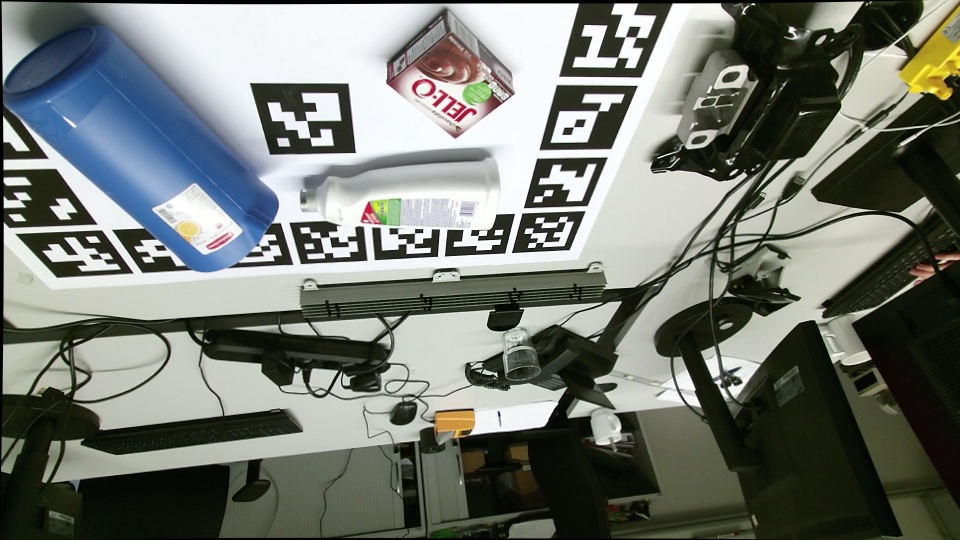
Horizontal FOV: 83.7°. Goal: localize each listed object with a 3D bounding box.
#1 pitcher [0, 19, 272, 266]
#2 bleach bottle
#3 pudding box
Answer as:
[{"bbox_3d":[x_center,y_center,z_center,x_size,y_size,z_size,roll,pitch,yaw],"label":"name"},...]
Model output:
[{"bbox_3d":[-0.357,-0.127,0.568,0.189,0.133,0.243,11,149,31],"label":"pitcher"},{"bbox_3d":[-0.111,-0.093,0.703,0.252,0.067,0.103,-4,139,-5],"label":"bleach bottle"},{"bbox_3d":[-0.038,-0.207,0.578,0.090,0.038,0.114,-27,140,30],"label":"pudding box"}]
